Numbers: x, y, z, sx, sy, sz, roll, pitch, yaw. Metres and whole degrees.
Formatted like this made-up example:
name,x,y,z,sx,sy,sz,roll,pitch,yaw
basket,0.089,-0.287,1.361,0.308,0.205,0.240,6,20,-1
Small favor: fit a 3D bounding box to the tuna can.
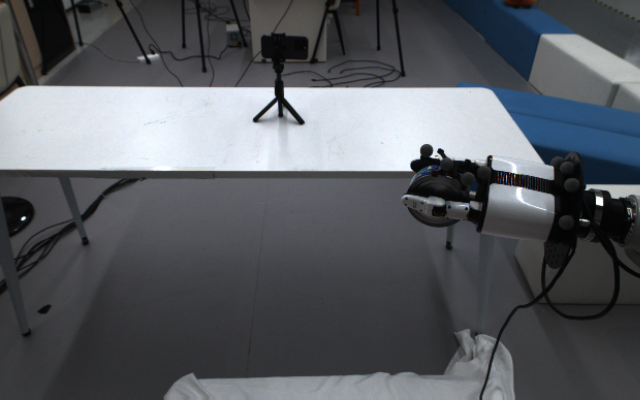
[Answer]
name,x,y,z,sx,sy,sz,roll,pitch,yaw
tuna can,0.168,-0.008,0.680,0.085,0.085,0.034,12,33,14
